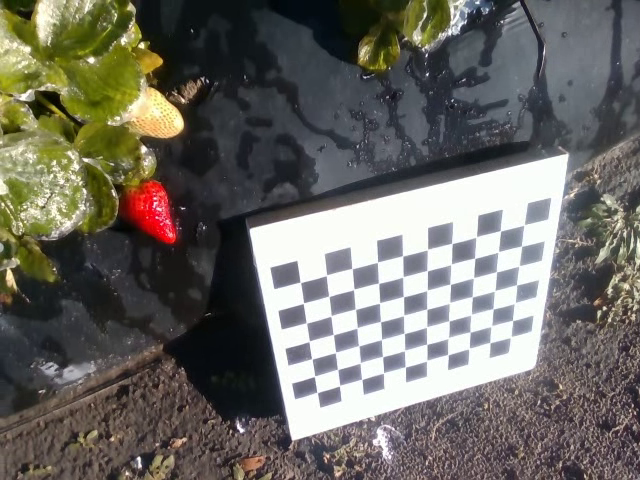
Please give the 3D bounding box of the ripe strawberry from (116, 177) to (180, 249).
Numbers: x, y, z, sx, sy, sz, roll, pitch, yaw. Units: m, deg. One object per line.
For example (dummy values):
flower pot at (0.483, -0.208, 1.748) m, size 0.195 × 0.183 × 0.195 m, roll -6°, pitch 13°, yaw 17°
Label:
ripe strawberry at (-0.123, -0.013, 0.449) m, size 0.041 × 0.052 × 0.040 m, roll -29°, pitch 29°, yaw -1°
